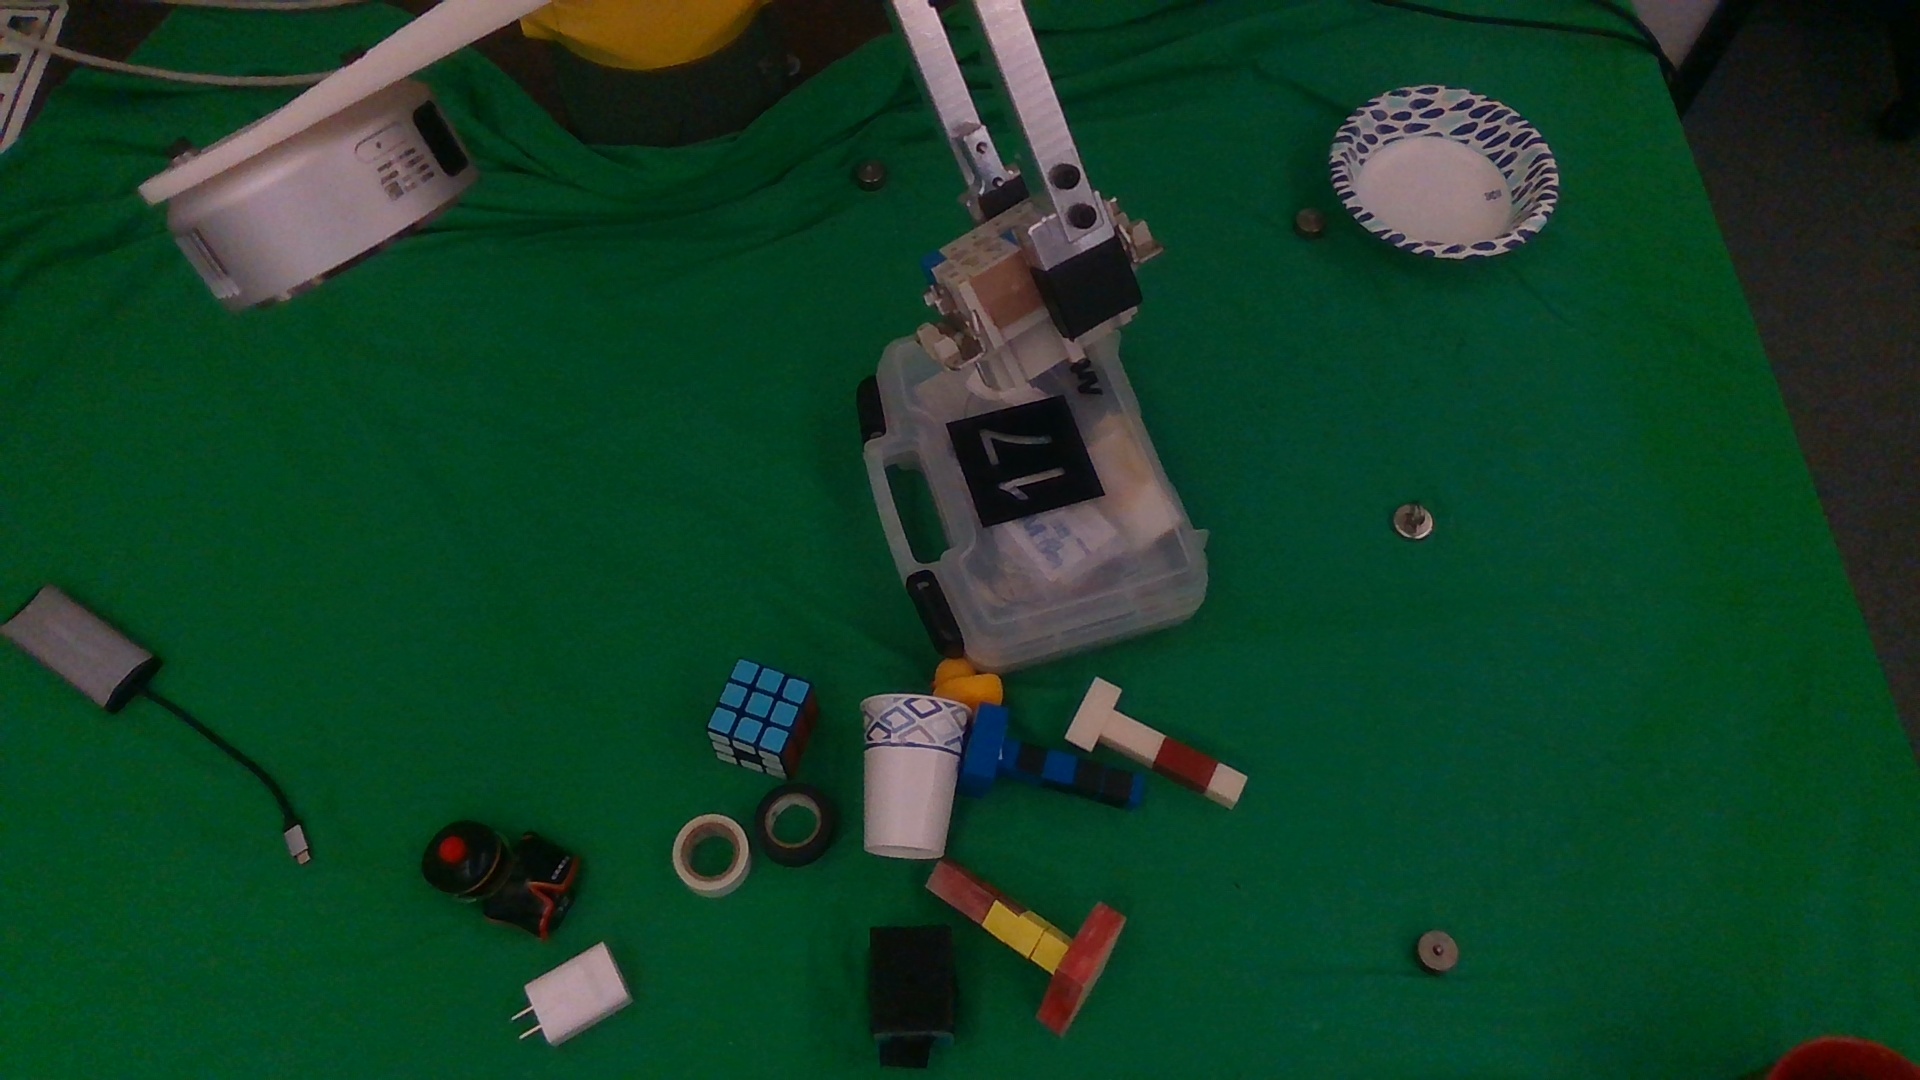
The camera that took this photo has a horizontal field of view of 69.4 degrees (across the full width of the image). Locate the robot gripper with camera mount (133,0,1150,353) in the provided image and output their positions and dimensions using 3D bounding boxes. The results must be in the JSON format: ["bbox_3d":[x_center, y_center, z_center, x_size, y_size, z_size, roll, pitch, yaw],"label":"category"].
[{"bbox_3d":[-0.065,-0.077,0.301,0.193,0.158,0.119,-33,23,-12],"label":"robot gripper with camera mount"}]

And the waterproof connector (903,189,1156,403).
[{"bbox_3d":[0.016,-0.061,0.351,0.065,0.037,0.035,-30,24,-2],"label":"waterproof connector"}]
